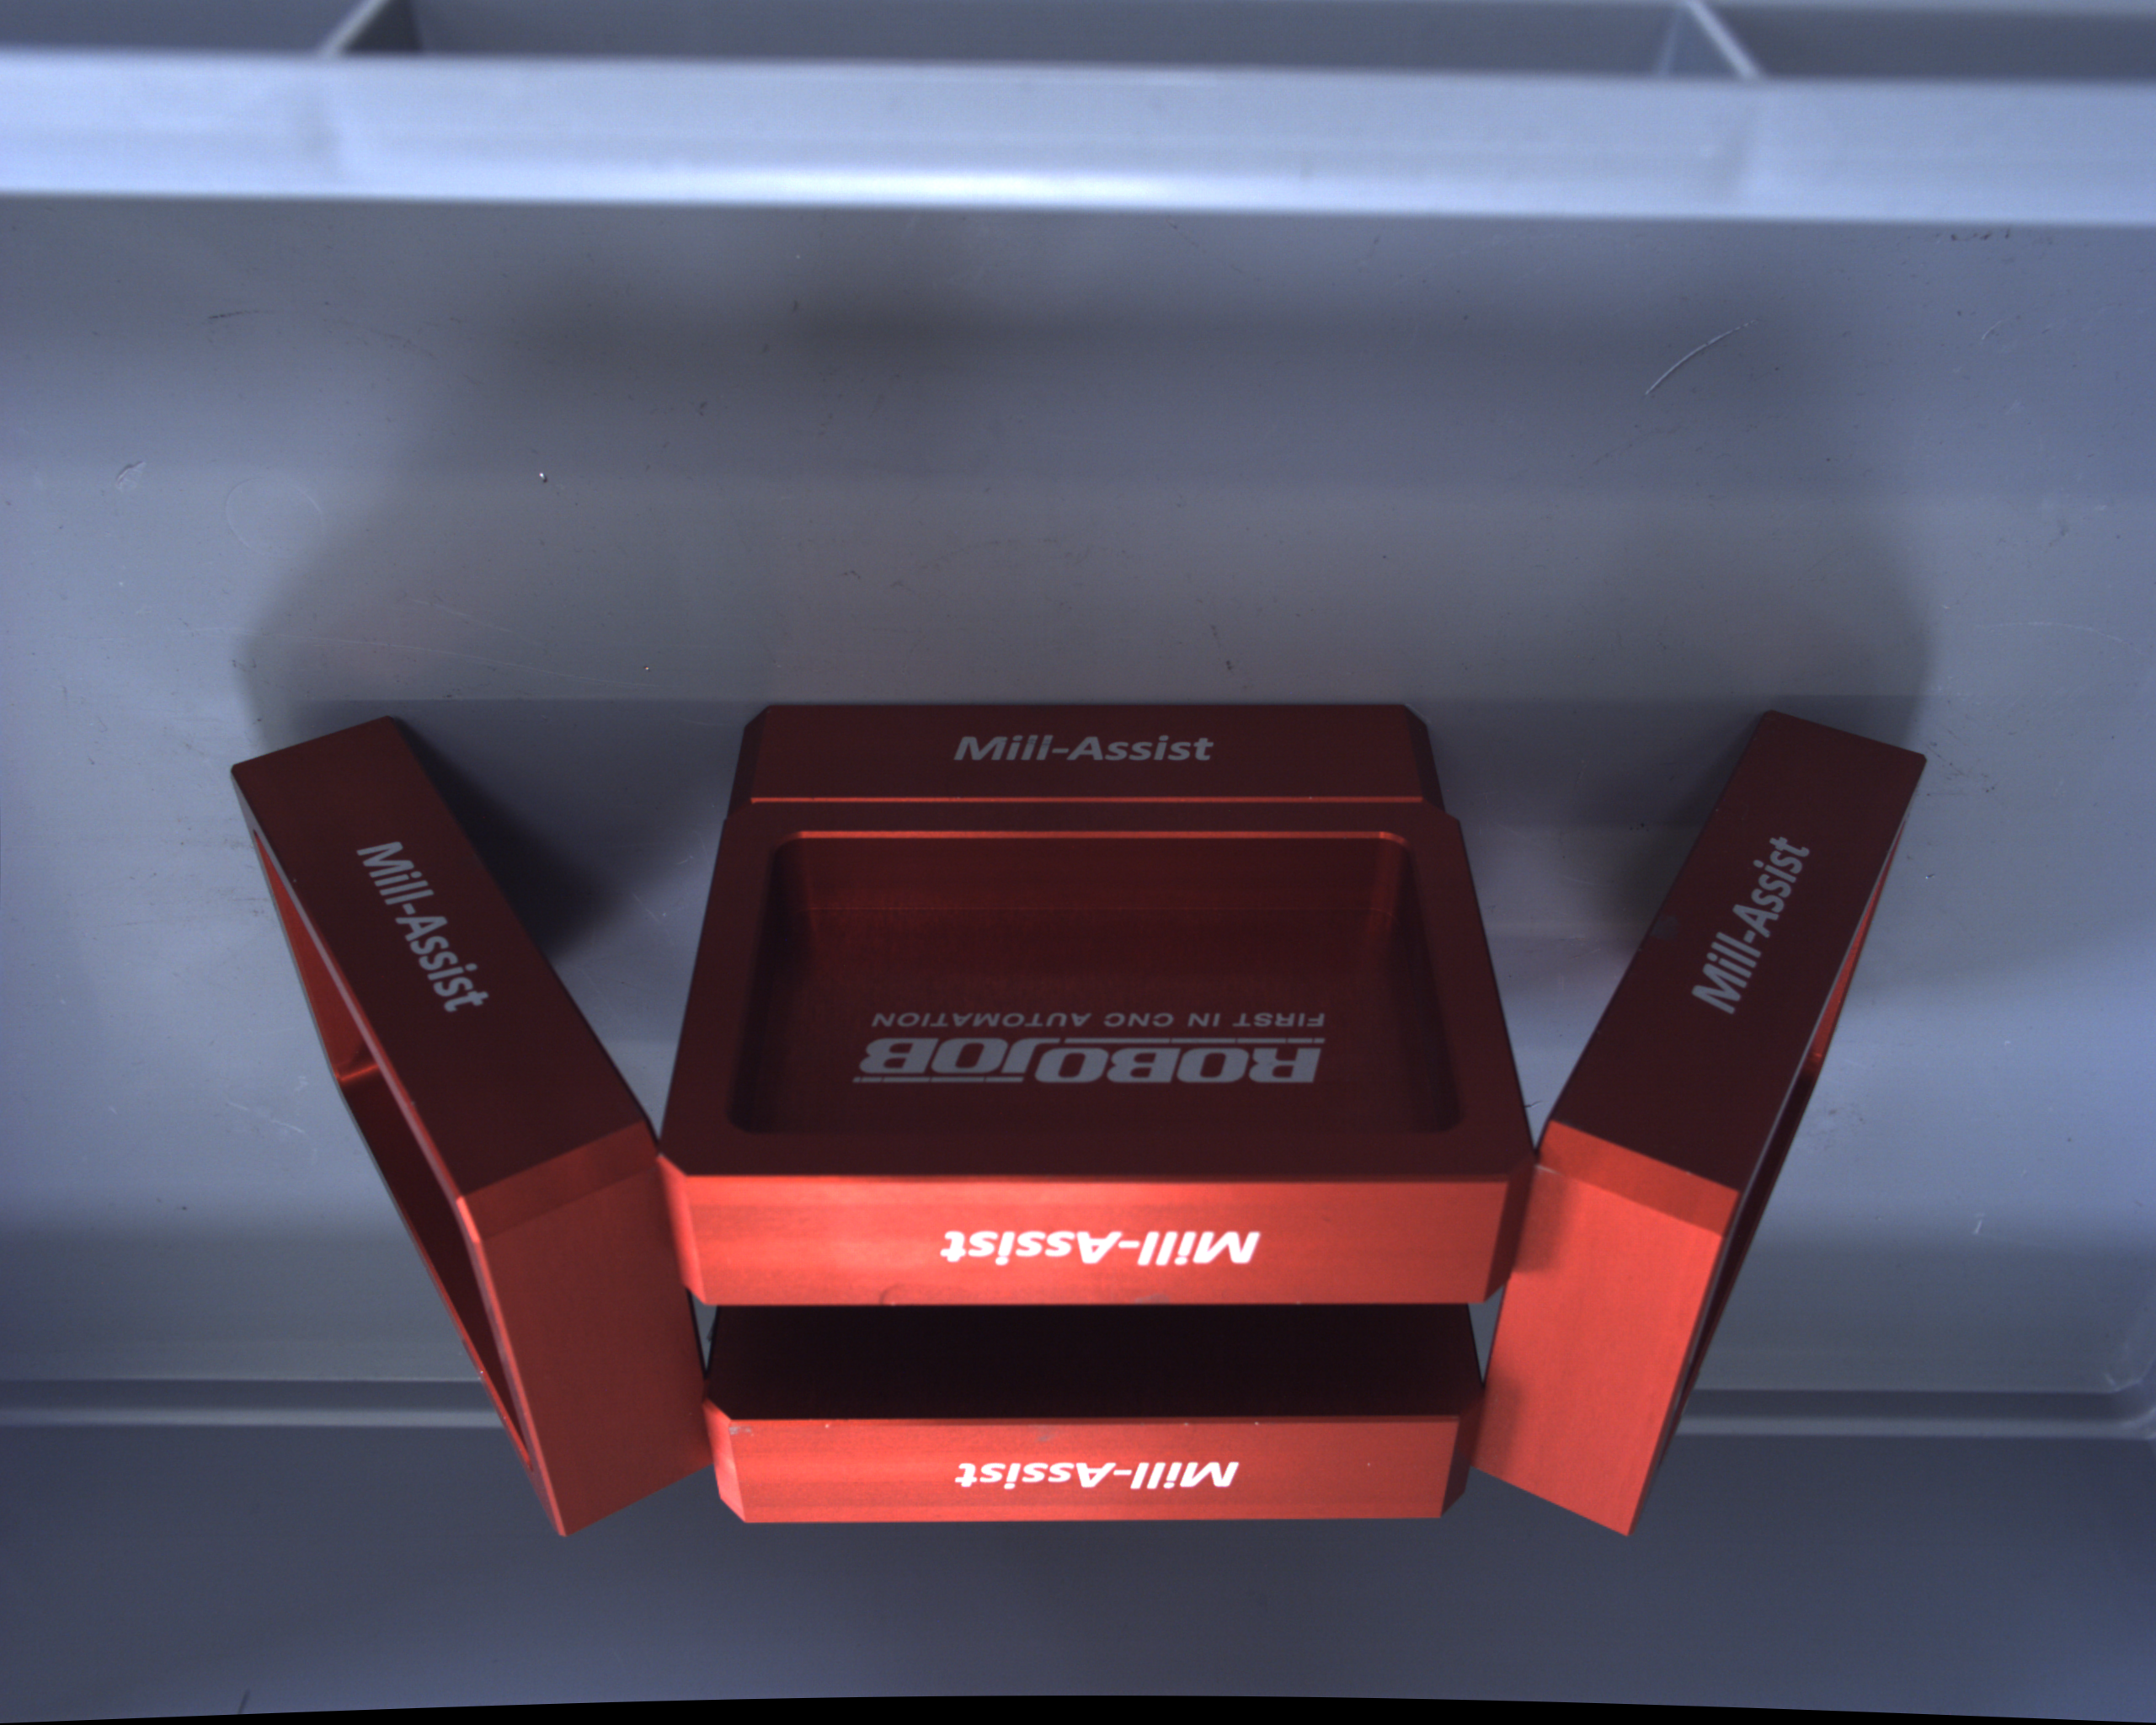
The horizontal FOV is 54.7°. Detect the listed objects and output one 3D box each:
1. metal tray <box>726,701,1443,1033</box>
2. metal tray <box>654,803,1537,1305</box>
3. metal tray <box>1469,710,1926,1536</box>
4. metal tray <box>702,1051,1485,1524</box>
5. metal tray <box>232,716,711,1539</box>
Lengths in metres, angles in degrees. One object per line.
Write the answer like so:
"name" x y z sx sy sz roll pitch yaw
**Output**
"metal tray" 0.002 0.013 0.415 0.131 0.030 0.089 -1 130 -1
"metal tray" 0.003 0.029 0.349 0.131 0.090 0.030 0 130 -1
"metal tray" 0.113 0.043 0.378 0.030 0.131 0.089 20 134 22
"metal tray" 0.002 0.075 0.388 0.131 0.090 0.030 0 130 -1
"metal tray" -0.110 0.044 0.377 0.030 0.130 0.089 -22 136 -24
